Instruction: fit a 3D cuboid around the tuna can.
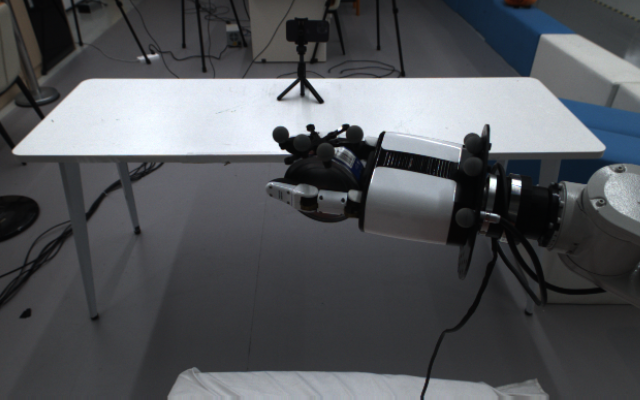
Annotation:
[{"bbox_3d":[0.008,-0.020,0.524,0.085,0.085,0.034,11,39,13],"label":"tuna can"}]
